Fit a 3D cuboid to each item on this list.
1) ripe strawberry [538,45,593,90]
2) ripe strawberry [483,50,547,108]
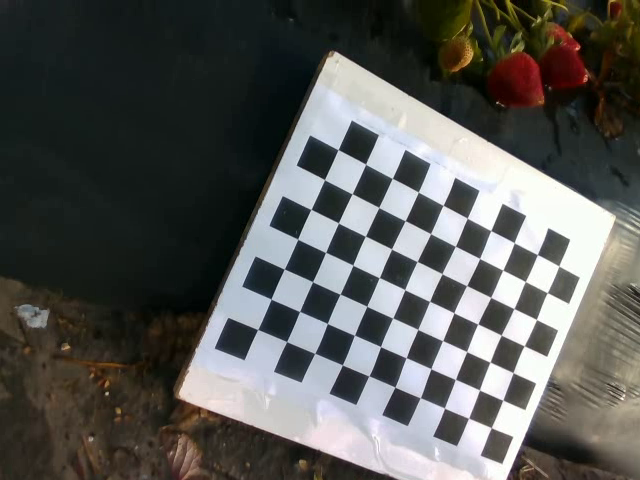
[{"bbox_3d":[0.232,-0.159,0.592,0.055,0.044,0.042,43,-12,37],"label":"ripe strawberry"},{"bbox_3d":[0.173,-0.134,0.535,0.050,0.050,0.065,-16,44,-13],"label":"ripe strawberry"}]
